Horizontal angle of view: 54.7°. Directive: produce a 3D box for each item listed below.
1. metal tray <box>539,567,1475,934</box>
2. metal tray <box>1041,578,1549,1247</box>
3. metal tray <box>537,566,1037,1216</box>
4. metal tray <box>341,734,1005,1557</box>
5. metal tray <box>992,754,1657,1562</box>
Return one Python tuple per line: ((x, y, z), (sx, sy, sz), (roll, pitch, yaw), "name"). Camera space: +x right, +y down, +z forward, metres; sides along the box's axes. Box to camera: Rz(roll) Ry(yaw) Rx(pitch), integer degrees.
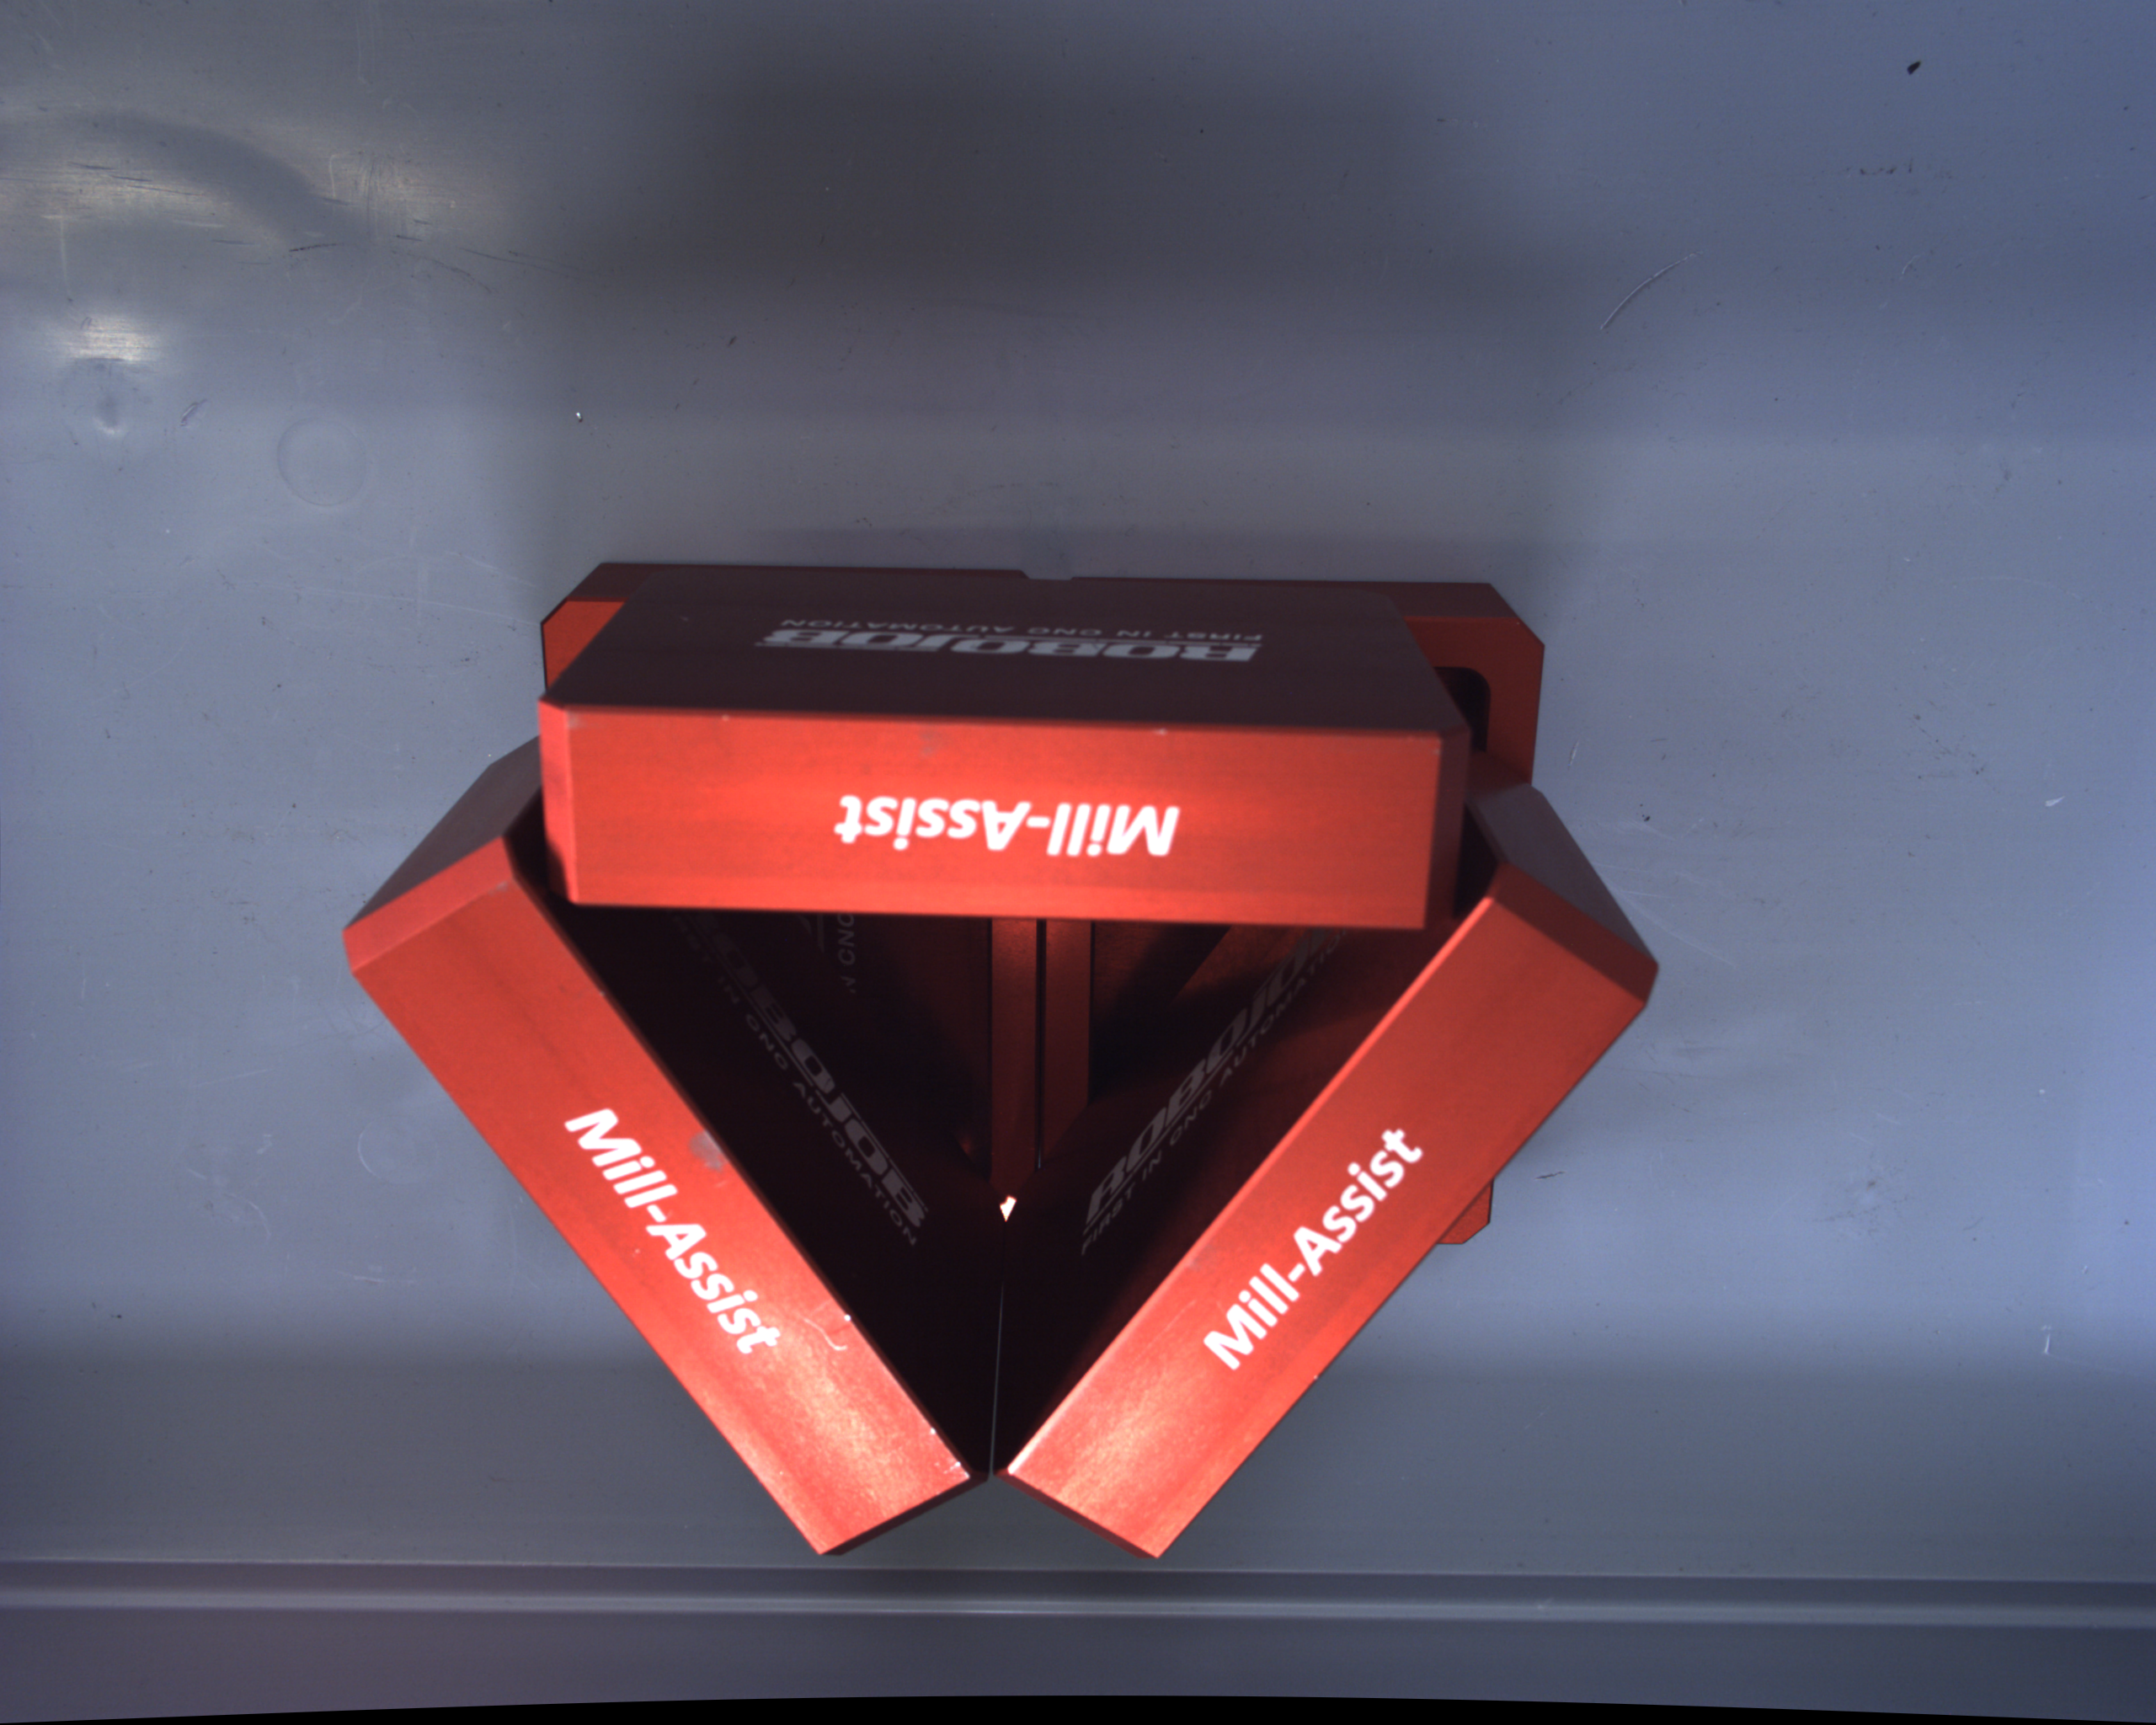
((-0.010, -0.021, 0.334), (0.131, 0.090, 0.030), (2, 111, -1), "metal tray")
((0.039, 0.011, 0.412), (0.091, 0.030, 0.129), (1, 109, -1), "metal tray")
((-0.053, 0.009, 0.411), (0.091, 0.030, 0.129), (0, 109, 0), "metal tray")
((-0.061, 0.041, 0.357), (0.030, 0.090, 0.130), (-30, 108, 11), "metal tray")
((0.036, 0.044, 0.358), (0.030, 0.090, 0.129), (34, 107, -12), "metal tray")
